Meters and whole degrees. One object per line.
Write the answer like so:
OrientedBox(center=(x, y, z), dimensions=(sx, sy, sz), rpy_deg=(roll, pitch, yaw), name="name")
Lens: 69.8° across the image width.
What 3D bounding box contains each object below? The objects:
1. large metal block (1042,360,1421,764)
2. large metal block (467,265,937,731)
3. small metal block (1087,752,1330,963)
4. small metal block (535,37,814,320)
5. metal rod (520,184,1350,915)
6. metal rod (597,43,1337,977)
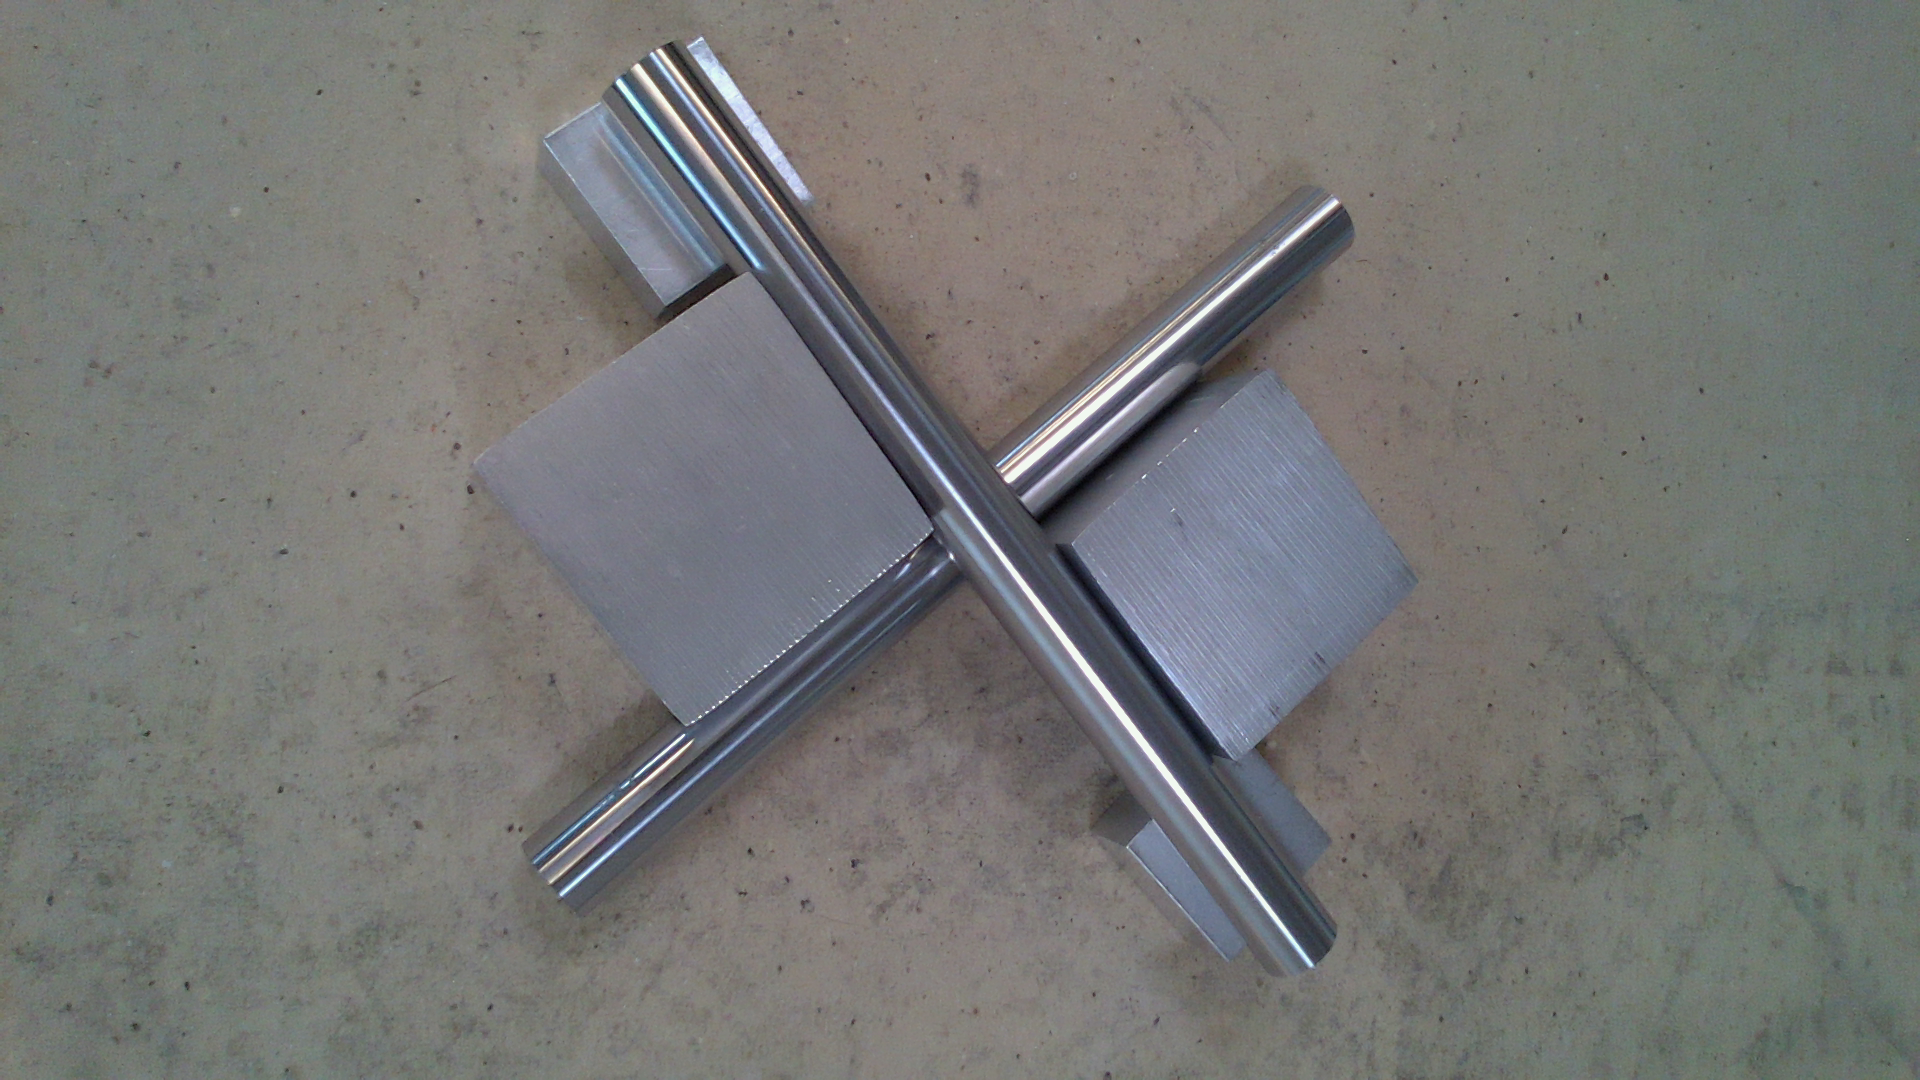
OrientedBox(center=(0.074, 0.006, 0.407), dimensions=(0.080, 0.050, 0.080), rpy_deg=(-41, 103, -15), name="large metal block")
OrientedBox(center=(-0.067, -0.011, 0.354), dimensions=(0.080, 0.050, 0.080), rpy_deg=(-39, 102, -16), name="large metal block")
OrientedBox(center=(0.076, 0.091, 0.422), dimensions=(0.050, 0.025, 0.050), rpy_deg=(-45, 104, -14), name="small metal block")
OrientedBox(center=(-0.076, -0.095, 0.367), dimensions=(0.050, 0.025, 0.050), rpy_deg=(-39, 103, -16), name="small metal block")
OrientedBox(center=(0.004, -0.007, 0.396), dimensions=(0.301, 0.025, 0.025), rpy_deg=(-41, 103, -15), name="metal rod")
OrientedBox(center=(0.010, 0.002, 0.370), dimensions=(0.025, 0.025, 0.300), rpy_deg=(-41, 103, -15), name="metal rod")
